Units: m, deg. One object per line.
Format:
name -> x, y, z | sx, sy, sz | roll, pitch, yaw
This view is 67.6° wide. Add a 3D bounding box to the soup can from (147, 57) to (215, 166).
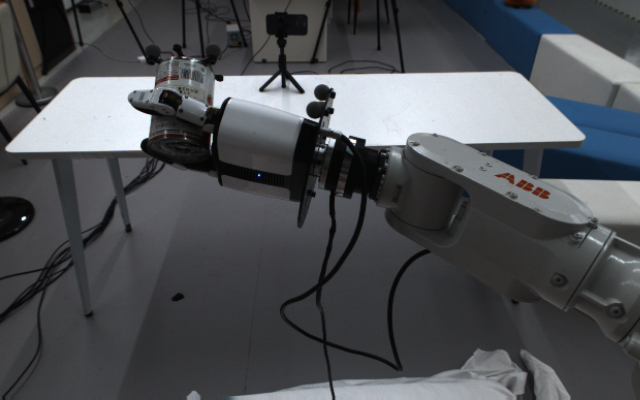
soup can -> -0.155, -0.100, 0.548 | 0.067, 0.067, 0.101 | 1, 72, -2
